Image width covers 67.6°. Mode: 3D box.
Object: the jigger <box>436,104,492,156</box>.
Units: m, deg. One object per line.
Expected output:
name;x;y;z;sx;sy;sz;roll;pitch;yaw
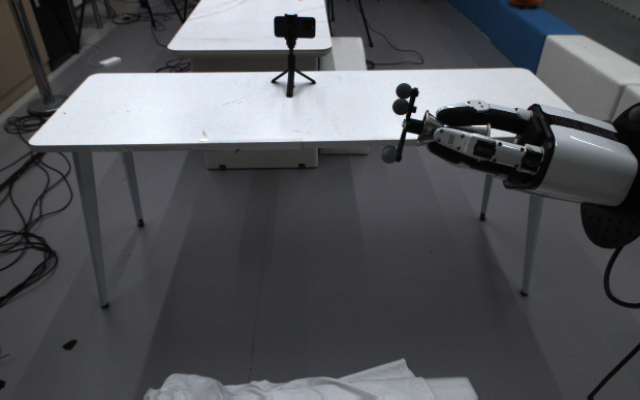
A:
jigger;0.149;-0.072;0.525;0.071;0.043;0.043;14;36;4
